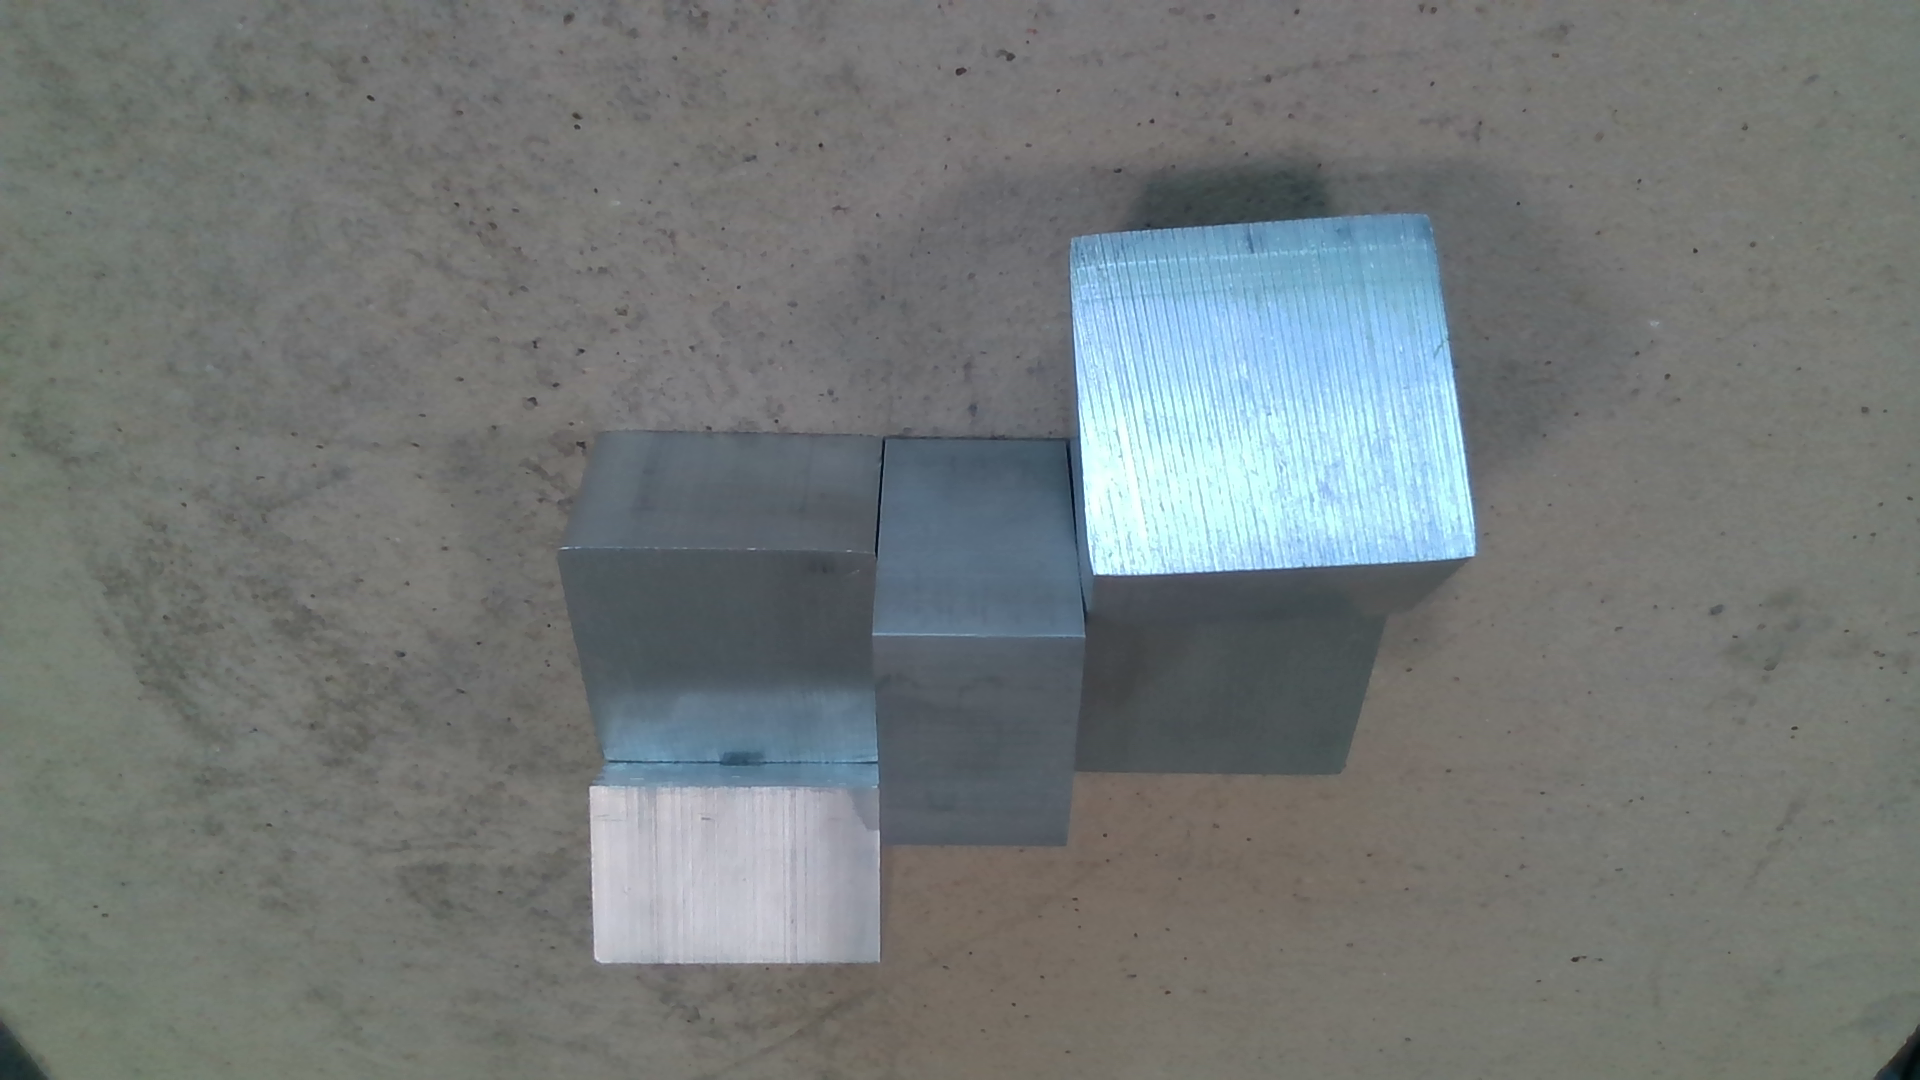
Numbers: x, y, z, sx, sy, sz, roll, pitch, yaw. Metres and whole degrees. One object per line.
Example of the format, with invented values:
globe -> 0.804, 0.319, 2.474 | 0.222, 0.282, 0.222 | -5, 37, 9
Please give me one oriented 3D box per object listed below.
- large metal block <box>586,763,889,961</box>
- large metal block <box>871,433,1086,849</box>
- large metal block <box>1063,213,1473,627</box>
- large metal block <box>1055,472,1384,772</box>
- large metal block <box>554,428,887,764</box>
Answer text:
large metal block -> -0.062, 0.086, 0.417 | 0.080, 0.080, 0.050 | 0, 98, 0
large metal block -> 0.004, 0.027, 0.376 | 0.050, 0.080, 0.080 | 0, 130, 0
large metal block -> 0.066, -0.026, 0.322 | 0.080, 0.080, 0.050 | -3, 164, 2
large metal block -> 0.069, 0.020, 0.387 | 0.080, 0.050, 0.080 | 0, 130, -1
large metal block -> -0.061, 0.017, 0.387 | 0.080, 0.050, 0.080 | 1, 130, 0
